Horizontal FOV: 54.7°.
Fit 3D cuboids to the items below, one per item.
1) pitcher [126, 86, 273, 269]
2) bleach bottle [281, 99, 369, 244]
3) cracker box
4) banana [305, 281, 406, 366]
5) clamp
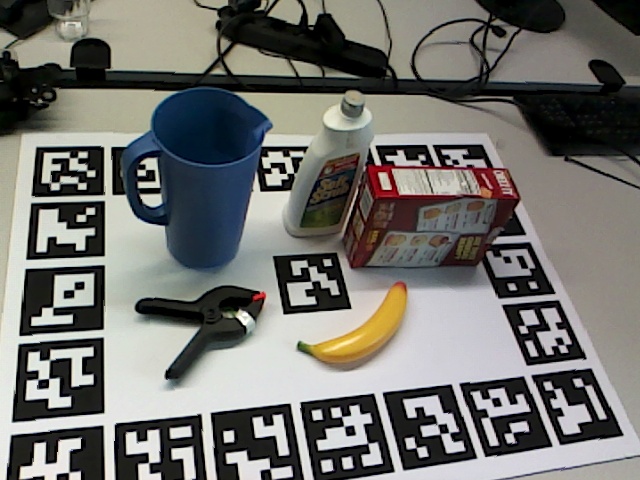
[{"bbox_3d":[-0.161,-0.068,0.824,0.188,0.242,0.134,-18,57,-28],"label":"pitcher"},{"bbox_3d":[0.008,-0.098,0.909,0.102,0.250,0.068,-3,51,-15],"label":"bleach bottle"},{"bbox_3d":[0.167,-0.030,0.924,0.213,0.164,0.072,-3,49,-12],"label":"cracker box"},{"bbox_3d":[0.070,0.124,0.889,0.074,0.039,0.196,41,55,21],"label":"banana"},{"bbox_3d":[-0.145,0.112,0.842,0.164,0.036,0.122,-17,55,-26],"label":"clamp"}]
